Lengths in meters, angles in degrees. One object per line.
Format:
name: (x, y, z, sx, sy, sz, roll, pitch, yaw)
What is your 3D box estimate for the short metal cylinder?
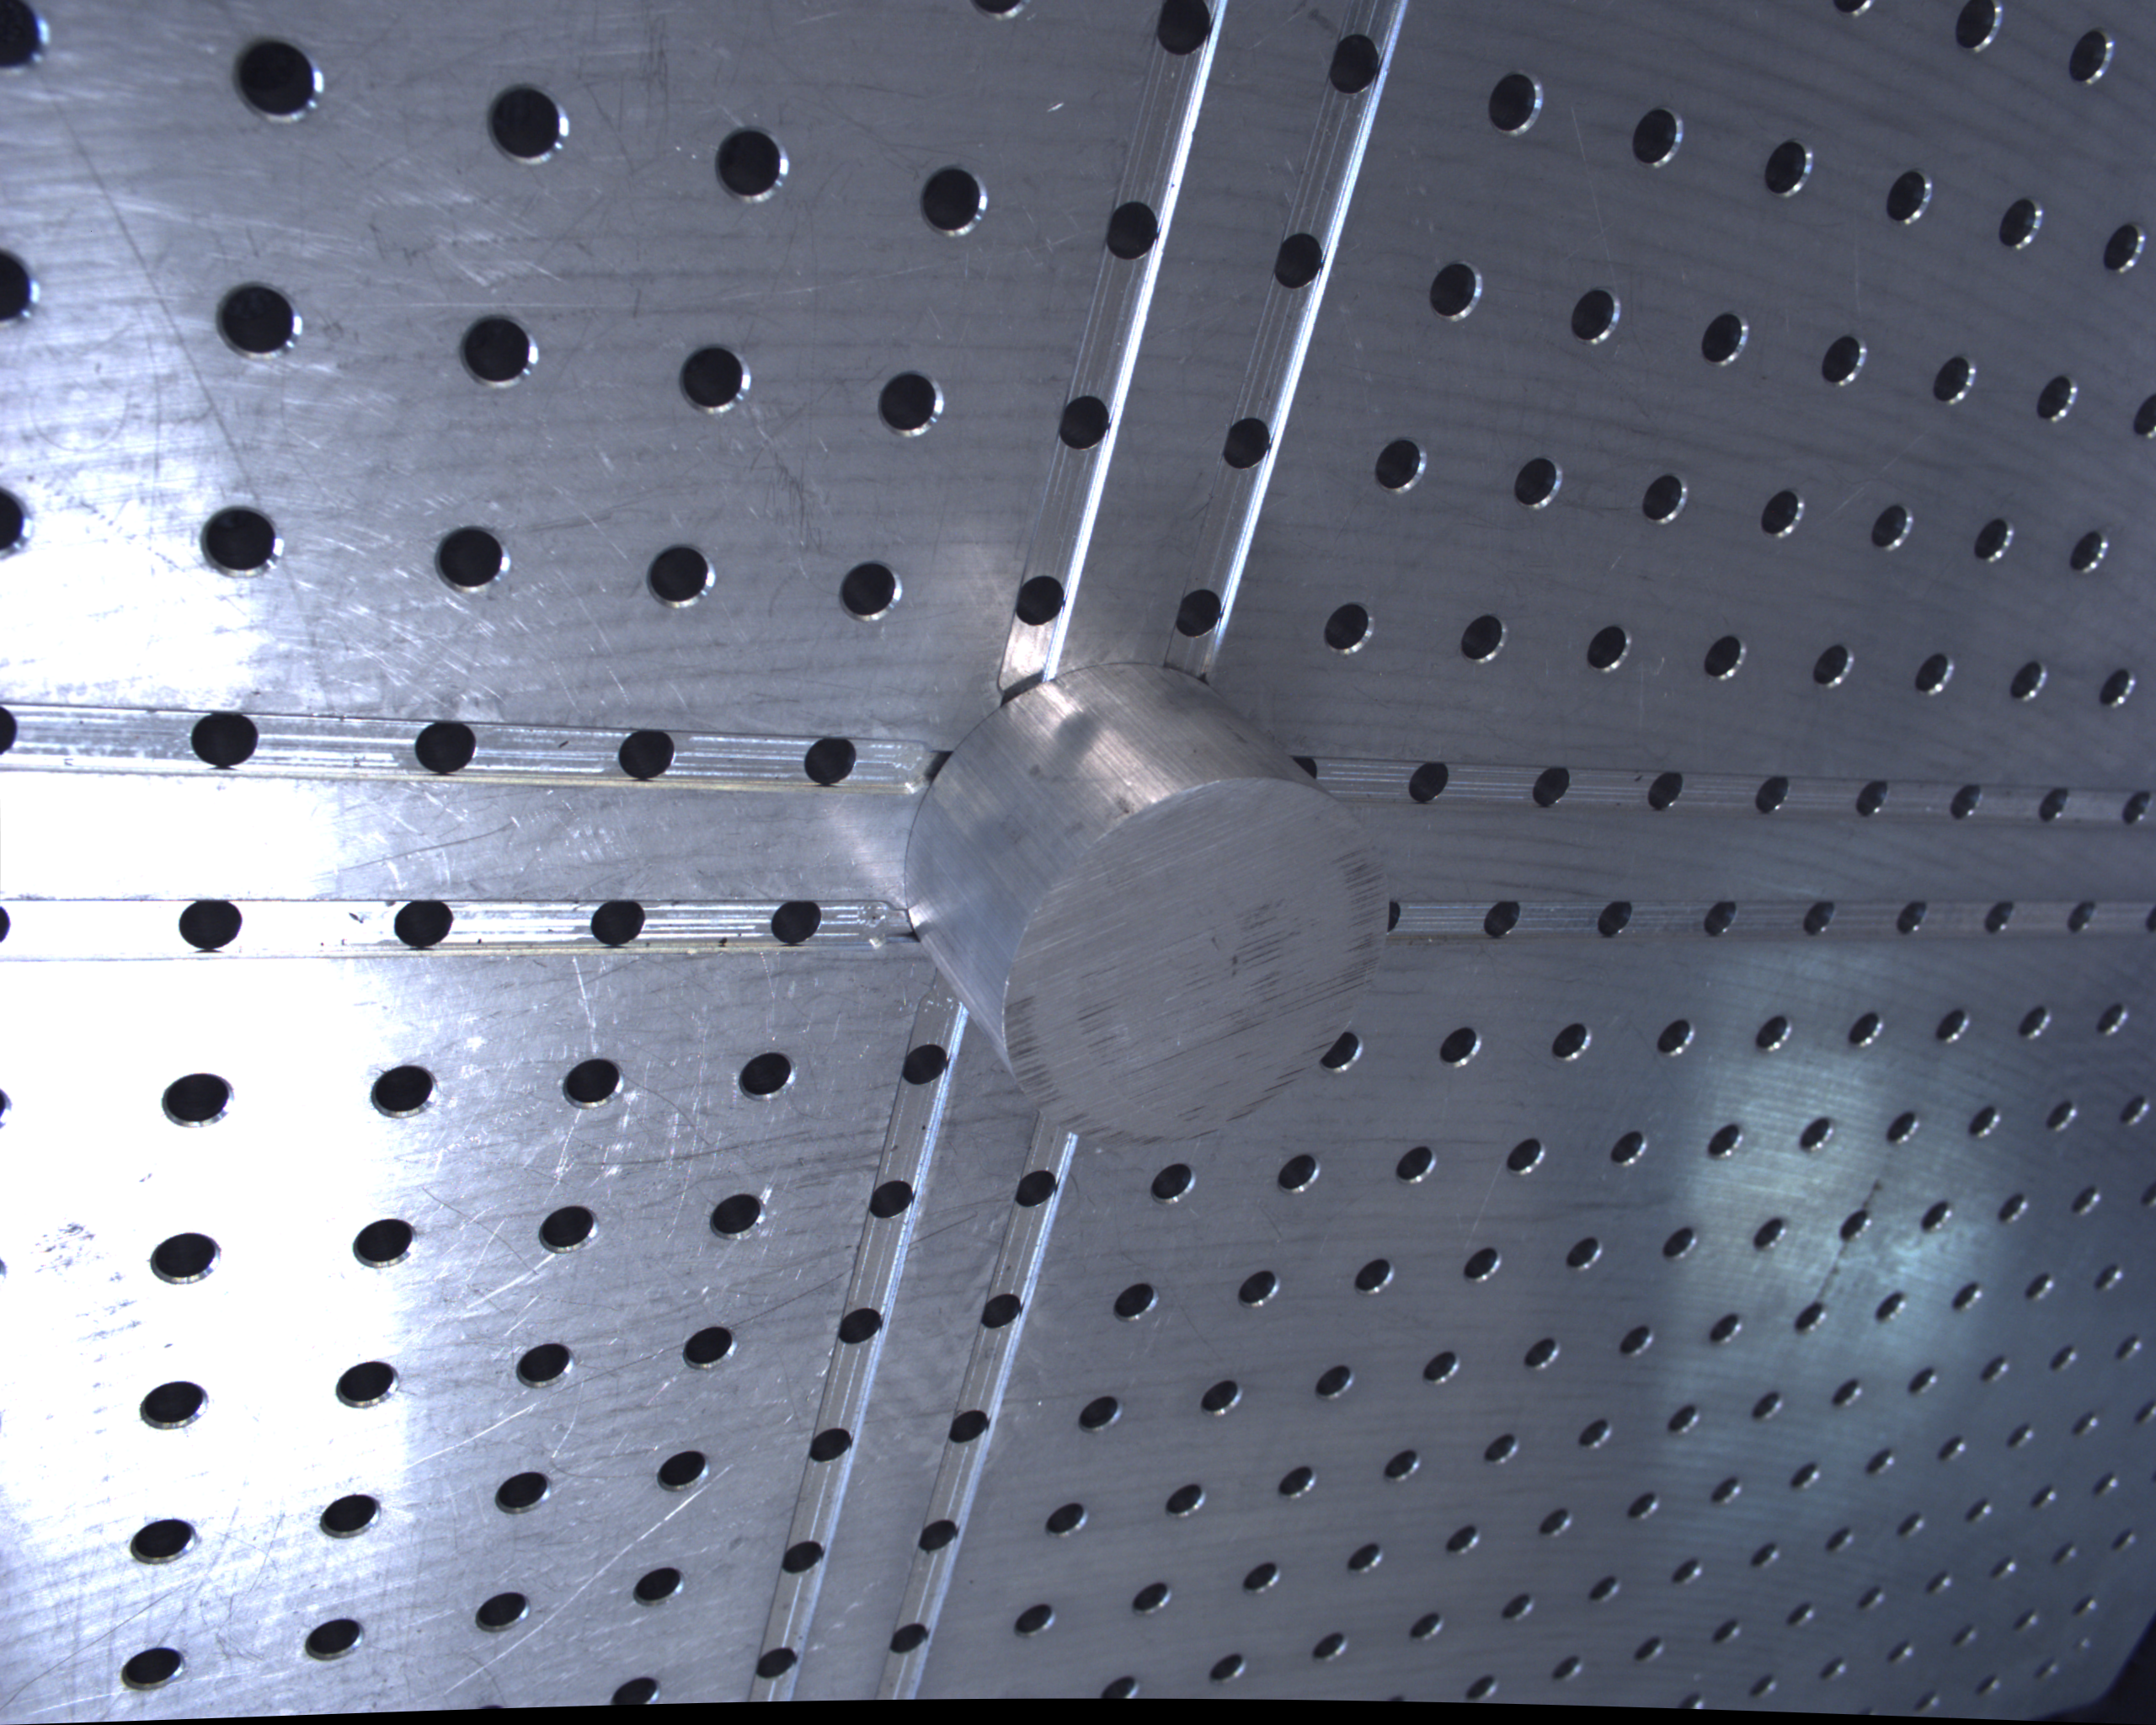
short metal cylinder: (0.012, 0.008, 0.406, 0.081, 0.050, 0.080, -14, 124, -21)
